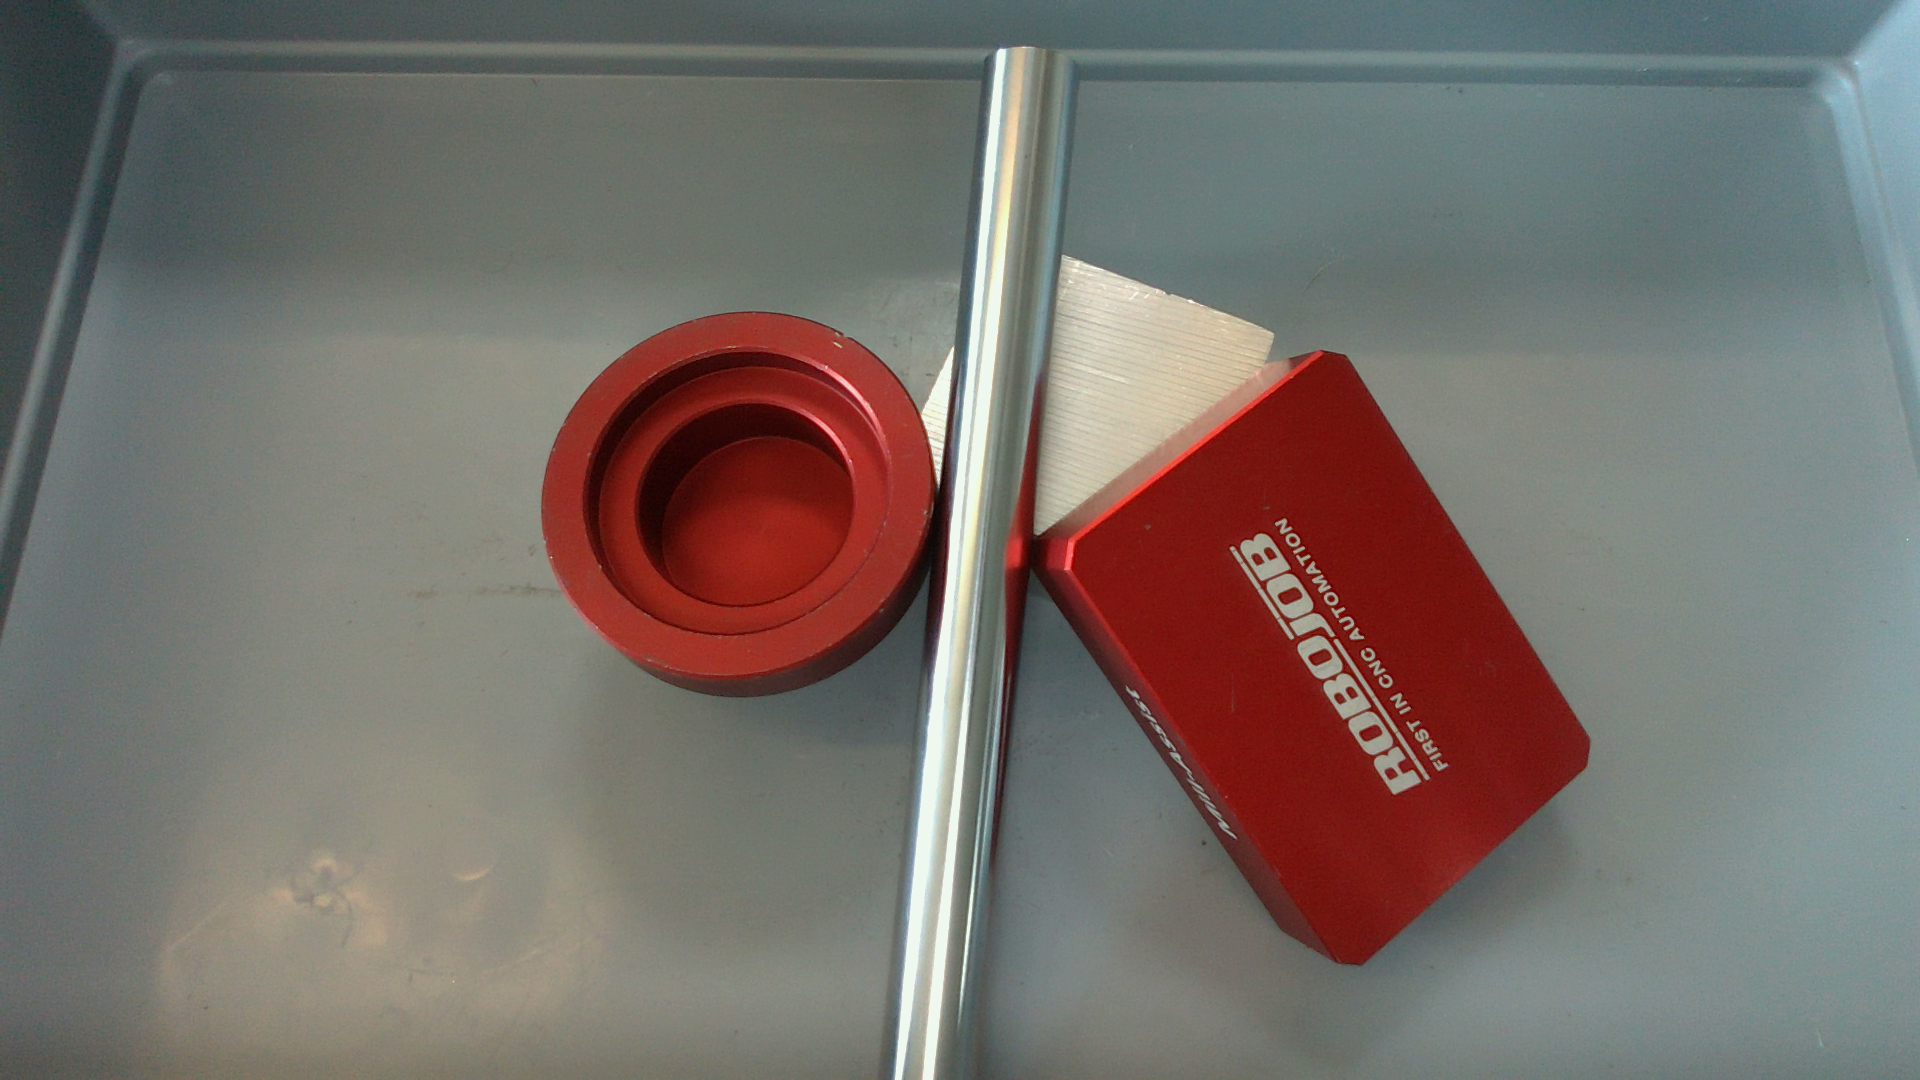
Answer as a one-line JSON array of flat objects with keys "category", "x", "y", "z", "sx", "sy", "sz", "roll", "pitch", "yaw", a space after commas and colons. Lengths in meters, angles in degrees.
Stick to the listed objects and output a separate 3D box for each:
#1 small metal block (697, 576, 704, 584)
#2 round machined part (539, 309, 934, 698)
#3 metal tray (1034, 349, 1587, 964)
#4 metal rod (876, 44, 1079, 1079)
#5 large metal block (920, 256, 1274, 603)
[{"category": "small metal block", "x": -0.068, "y": -0.008, "z": 0.397, "sx": 0.050, "sy": 0.025, "sz": 0.050, "roll": -21, "pitch": 71, "yaw": -8}, {"category": "round machined part", "x": -0.054, "y": -0.007, "z": 0.358, "sx": 0.098, "sy": 0.042, "sz": 0.098, "roll": -1, "pitch": 70, "yaw": 3}, {"category": "metal tray", "x": 0.091, "y": 0.029, "z": 0.354, "sx": 0.090, "sy": 0.030, "sz": 0.130, "roll": -37, "pitch": 99, "yaw": -12}, {"category": "metal rod", "x": 0.003, "y": 0.027, "z": 0.341, "sx": 0.025, "sy": 0.025, "sz": 0.300, "roll": 6, "pitch": 86, "yaw": 2}, {"category": "large metal block", "x": 0.033, "y": -0.029, "z": 0.391, "sx": 0.080, "sy": 0.050, "sz": 0.080, "roll": 22, "pitch": 71, "yaw": 8}]
